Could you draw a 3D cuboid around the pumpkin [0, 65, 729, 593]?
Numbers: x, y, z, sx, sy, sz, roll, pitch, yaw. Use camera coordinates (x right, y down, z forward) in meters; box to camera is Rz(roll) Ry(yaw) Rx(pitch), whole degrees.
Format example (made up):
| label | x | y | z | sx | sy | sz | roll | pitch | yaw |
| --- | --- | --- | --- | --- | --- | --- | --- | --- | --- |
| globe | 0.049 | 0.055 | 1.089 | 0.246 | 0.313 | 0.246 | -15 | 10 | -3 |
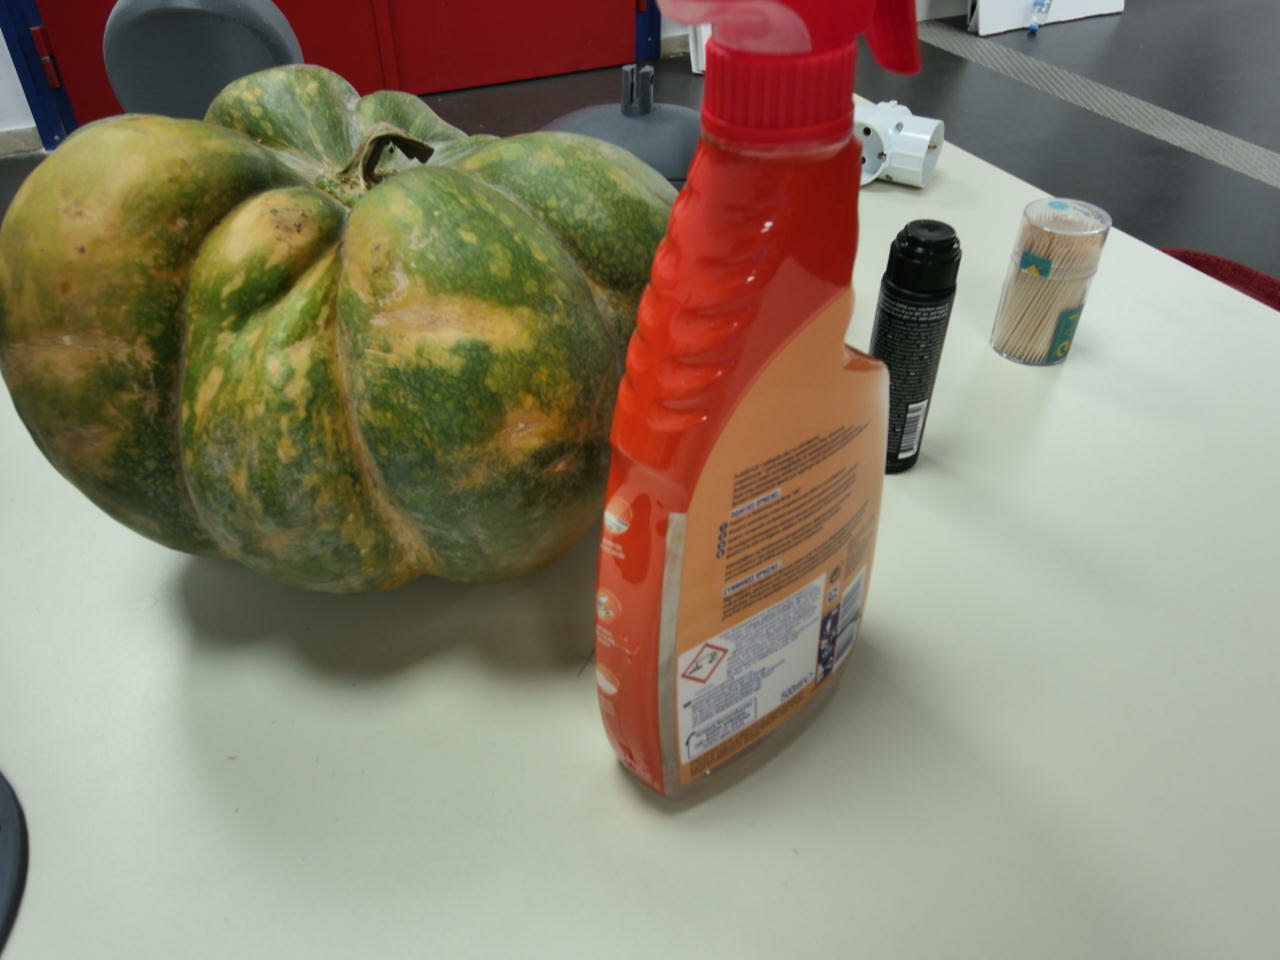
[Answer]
| label | x | y | z | sx | sy | sz | roll | pitch | yaw |
| --- | --- | --- | --- | --- | --- | --- | --- | --- | --- |
| pumpkin | -0.100 | -0.066 | 0.388 | 0.270 | 0.173 | 0.237 | 6 | 38 | 8 |
